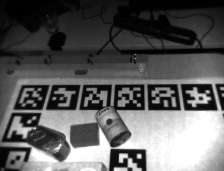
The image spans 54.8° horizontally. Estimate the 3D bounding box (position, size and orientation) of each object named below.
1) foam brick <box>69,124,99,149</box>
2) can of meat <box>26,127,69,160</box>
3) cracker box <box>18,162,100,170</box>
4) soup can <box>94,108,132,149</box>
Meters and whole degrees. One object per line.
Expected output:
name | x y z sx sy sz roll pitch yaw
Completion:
foam brick | -0.081 0.148 0.628 0.078 0.052 0.052 -10 58 0
can of meat | -0.180 0.166 0.604 0.101 0.084 0.058 11 60 13
cracker box | -0.137 0.280 0.519 0.213 0.072 0.163 -7 56 6
soup can | 0.001 0.123 0.634 0.068 0.068 0.101 -33 55 -13
